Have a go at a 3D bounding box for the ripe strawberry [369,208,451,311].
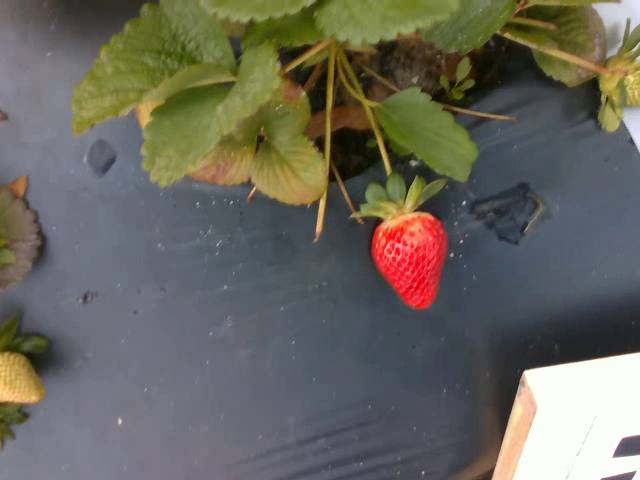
[{"bbox_3d":[0.040,0.006,0.274,0.036,0.046,0.040,-10,-2,17],"label":"ripe strawberry"}]
